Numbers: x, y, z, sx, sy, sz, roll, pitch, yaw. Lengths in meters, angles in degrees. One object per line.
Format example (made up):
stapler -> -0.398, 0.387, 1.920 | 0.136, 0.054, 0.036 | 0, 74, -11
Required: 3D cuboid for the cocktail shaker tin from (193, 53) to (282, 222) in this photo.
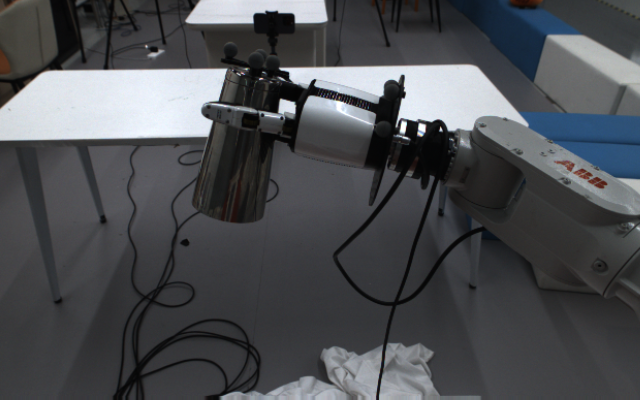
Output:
cocktail shaker tin -> -0.094, -0.071, 0.591 | 0.093, 0.170, 0.093 | 13, 19, -5
